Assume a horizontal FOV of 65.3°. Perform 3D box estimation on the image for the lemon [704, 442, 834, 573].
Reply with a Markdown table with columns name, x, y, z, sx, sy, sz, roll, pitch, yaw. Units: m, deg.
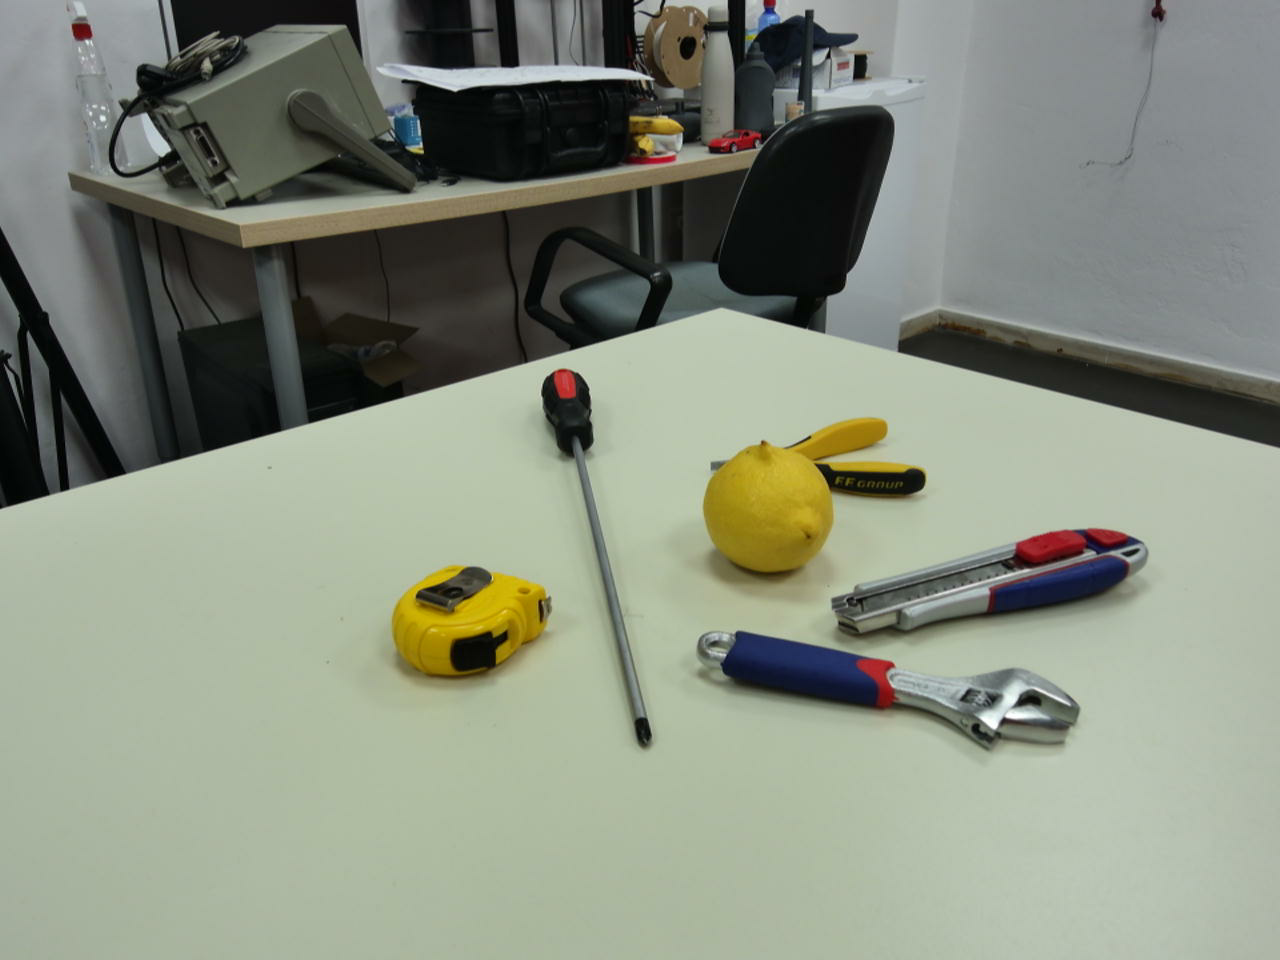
| name | x | y | z | sx | sy | sz | roll | pitch | yaw |
| --- | --- | --- | --- | --- | --- | --- | --- | --- | --- |
| lemon | 0.069 | 0.013 | 0.537 | 0.070 | 0.071 | 0.071 | 6 | 24 | 14 |
